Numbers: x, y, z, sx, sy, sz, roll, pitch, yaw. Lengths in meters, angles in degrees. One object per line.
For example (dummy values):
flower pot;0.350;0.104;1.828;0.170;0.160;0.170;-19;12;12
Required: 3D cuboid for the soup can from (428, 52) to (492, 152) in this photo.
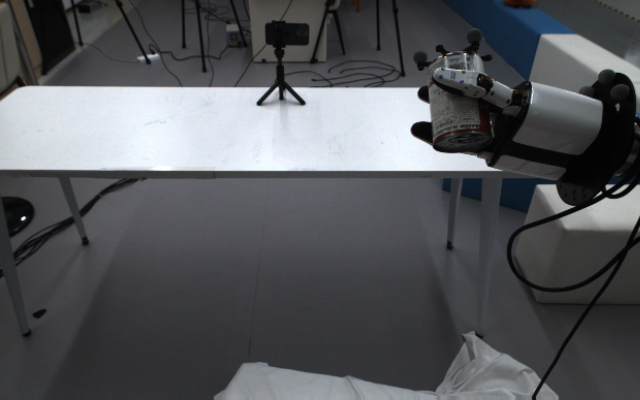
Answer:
soup can;0.164;-0.117;0.575;0.067;0.067;0.101;0;75;-3
